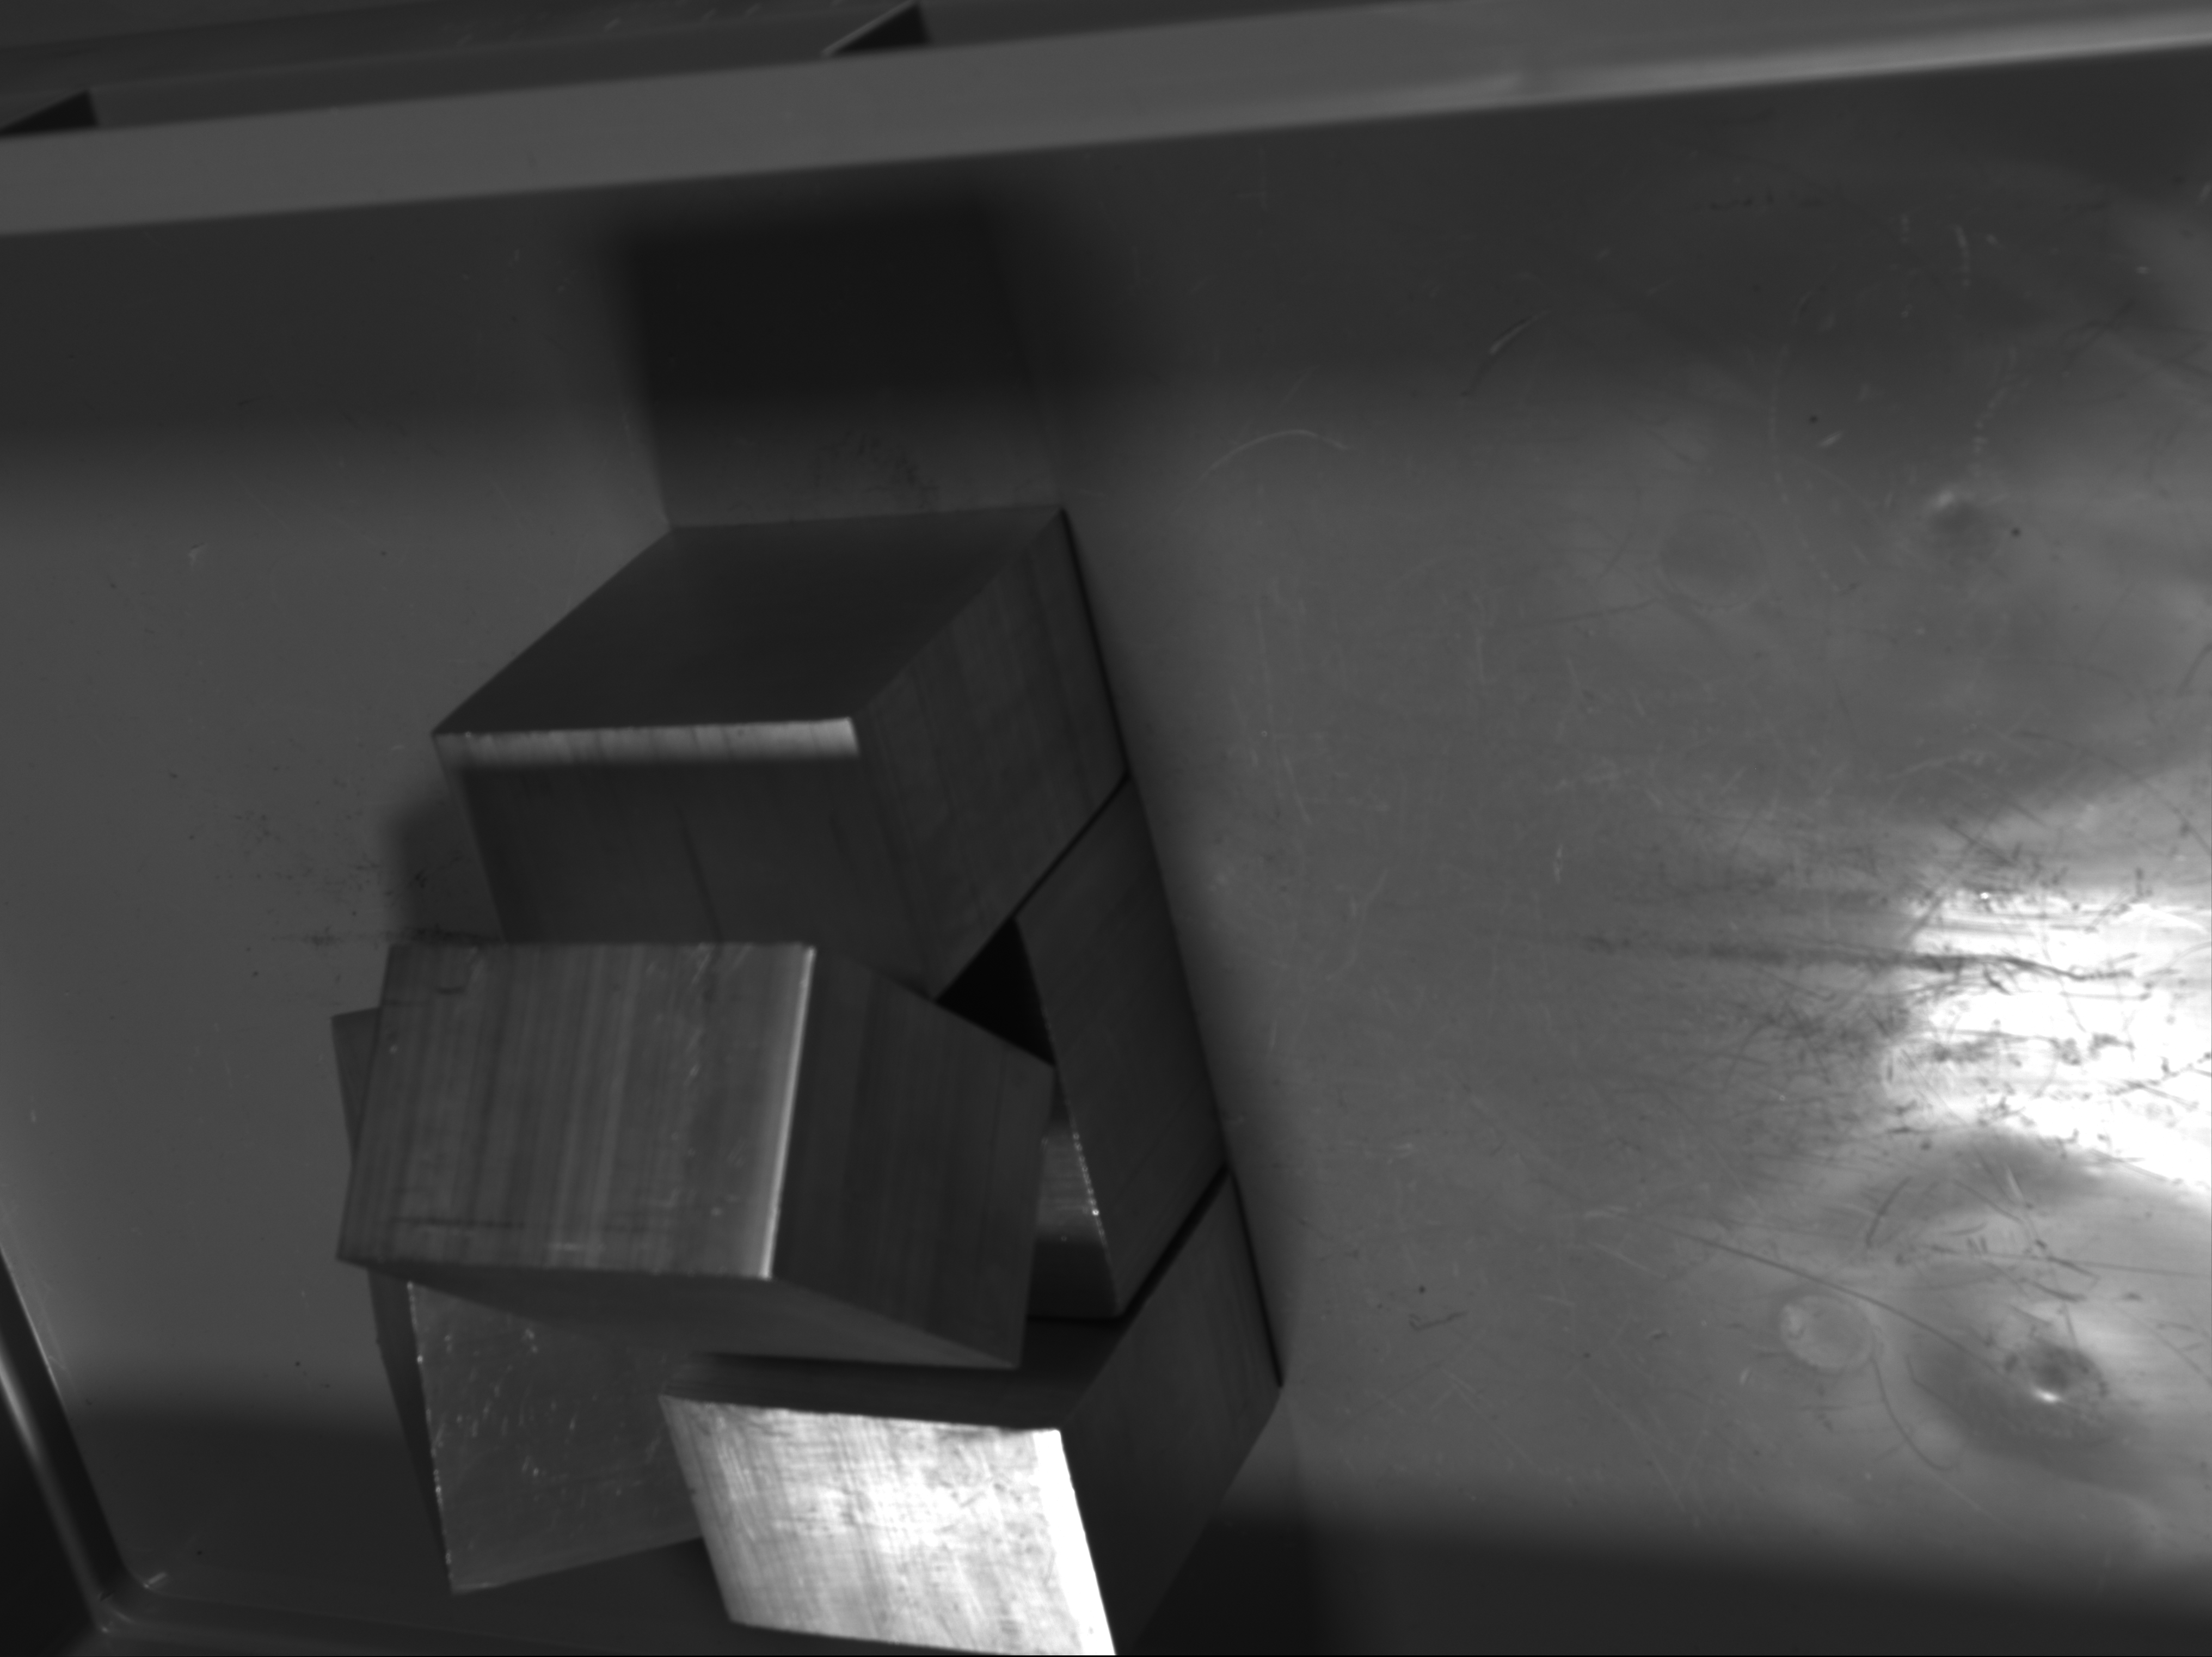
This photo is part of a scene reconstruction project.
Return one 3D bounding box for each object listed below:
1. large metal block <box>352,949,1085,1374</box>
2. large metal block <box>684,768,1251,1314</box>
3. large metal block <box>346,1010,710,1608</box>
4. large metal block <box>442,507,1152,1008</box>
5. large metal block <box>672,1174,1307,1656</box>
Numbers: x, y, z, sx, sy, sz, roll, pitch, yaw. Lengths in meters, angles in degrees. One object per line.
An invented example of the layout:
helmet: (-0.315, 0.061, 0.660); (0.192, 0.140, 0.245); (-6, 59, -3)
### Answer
large metal block: (-0.060, 0.054, 0.586); (0.080, 0.080, 0.050); (-1, 73, 27)
large metal block: (-0.028, 0.037, 0.652); (0.080, 0.050, 0.080); (-1, 118, 27)
large metal block: (-0.106, 0.084, 0.688); (0.050, 0.080, 0.080); (-11, 122, -16)
large metal block: (-0.049, -0.012, 0.611); (0.080, 0.080, 0.050); (-1, 118, 27)
large metal block: (-0.019, 0.104, 0.666); (0.080, 0.080, 0.050); (0, 118, 27)
